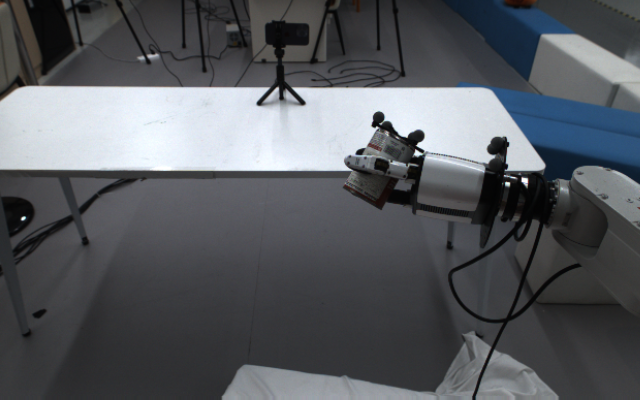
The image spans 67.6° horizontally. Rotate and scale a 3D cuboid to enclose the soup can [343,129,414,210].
[{"bbox_3d":[0.087,-0.046,0.716,0.067,0.101,0.067,30,1,-1],"label":"soup can"}]
